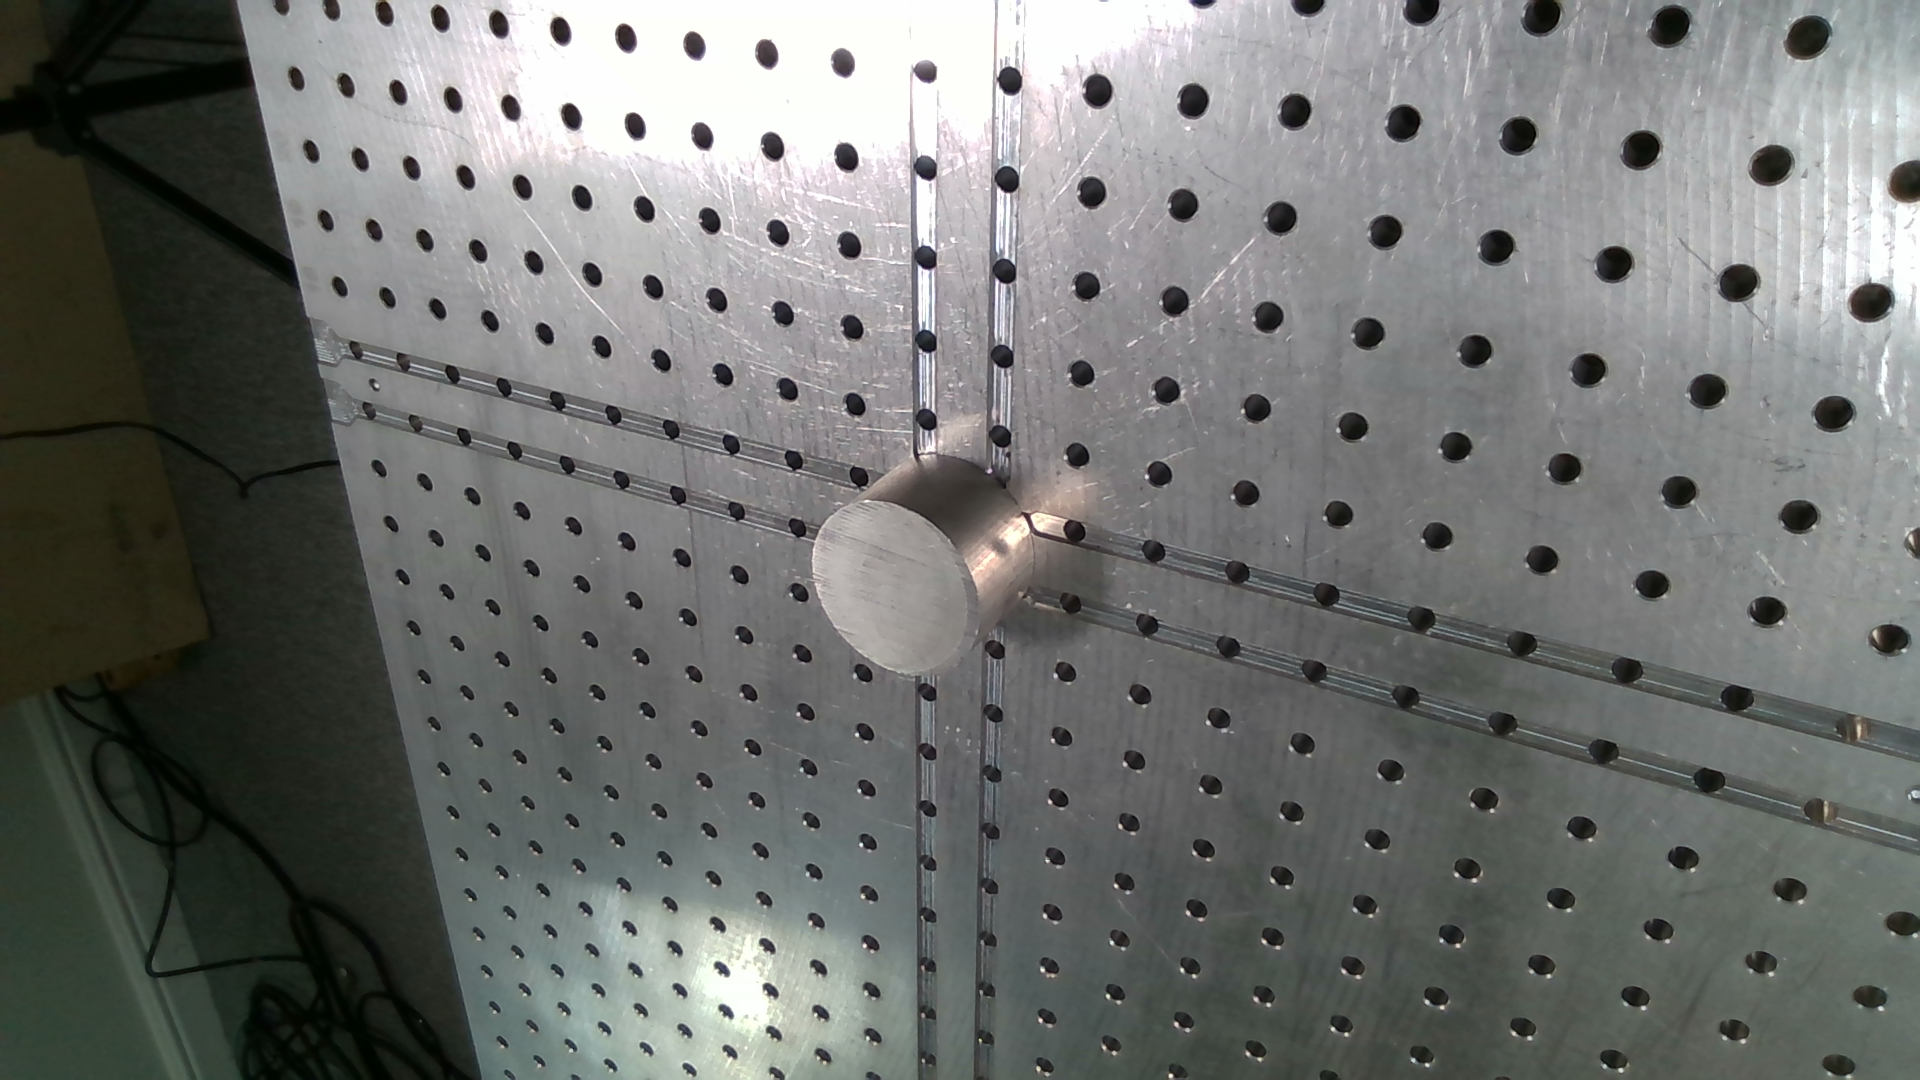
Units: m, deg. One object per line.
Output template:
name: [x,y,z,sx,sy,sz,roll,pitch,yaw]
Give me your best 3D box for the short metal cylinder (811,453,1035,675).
short metal cylinder: [-0.016,0.010,0.581,0.080,0.050,0.080,14,122,25]
